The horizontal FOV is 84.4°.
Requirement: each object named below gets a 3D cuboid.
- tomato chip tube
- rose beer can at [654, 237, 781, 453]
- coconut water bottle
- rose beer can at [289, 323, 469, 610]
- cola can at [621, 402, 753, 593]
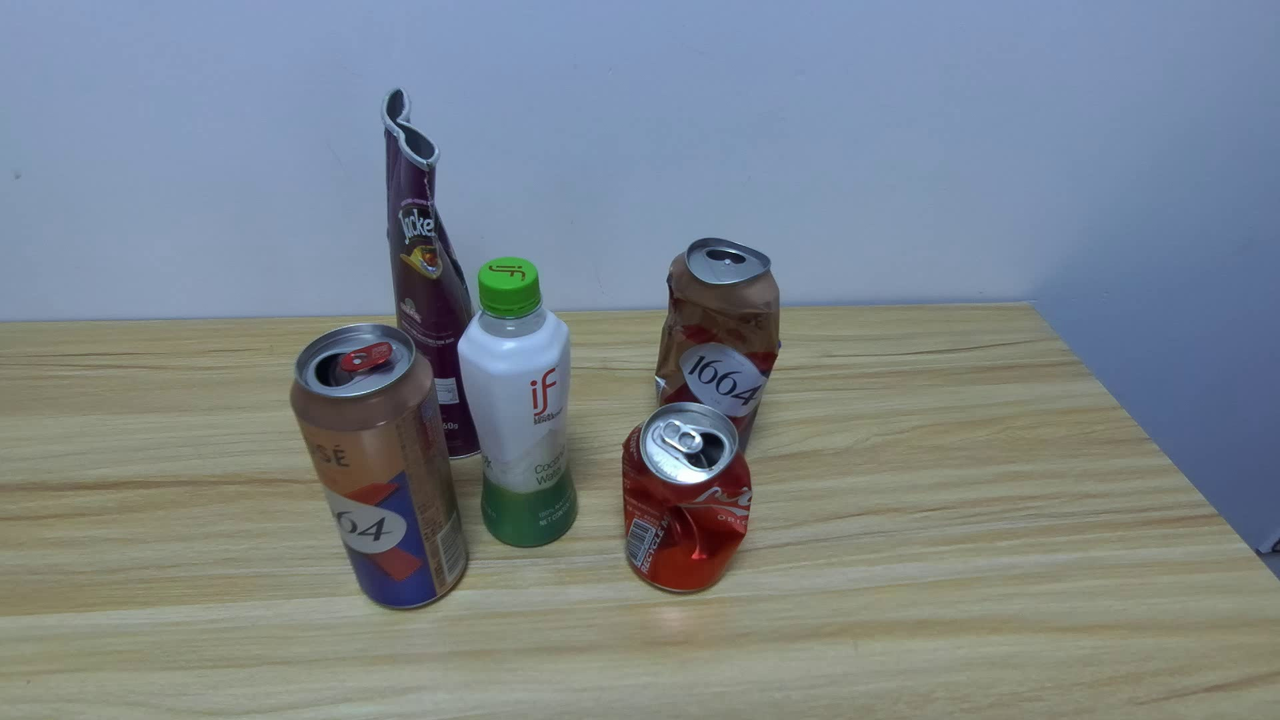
[{"bbox_3d":[-0.131,-0.042,0.461,0.078,0.236,0.090,15,41,14],"label":"tomato chip tube"},{"bbox_3d":[0.050,0.001,0.477,0.074,0.162,0.068,2,37,-4],"label":"rose beer can"},{"bbox_3d":[-0.070,0.029,0.416,0.063,0.189,0.063,1,39,-1],"label":"coconut water bottle"},{"bbox_3d":[-0.137,0.065,0.386,0.068,0.169,0.068,1,39,-1],"label":"rose beer can"},{"bbox_3d":[0.025,0.081,0.415,0.066,0.112,0.069,-13,43,-16],"label":"cola can"}]
